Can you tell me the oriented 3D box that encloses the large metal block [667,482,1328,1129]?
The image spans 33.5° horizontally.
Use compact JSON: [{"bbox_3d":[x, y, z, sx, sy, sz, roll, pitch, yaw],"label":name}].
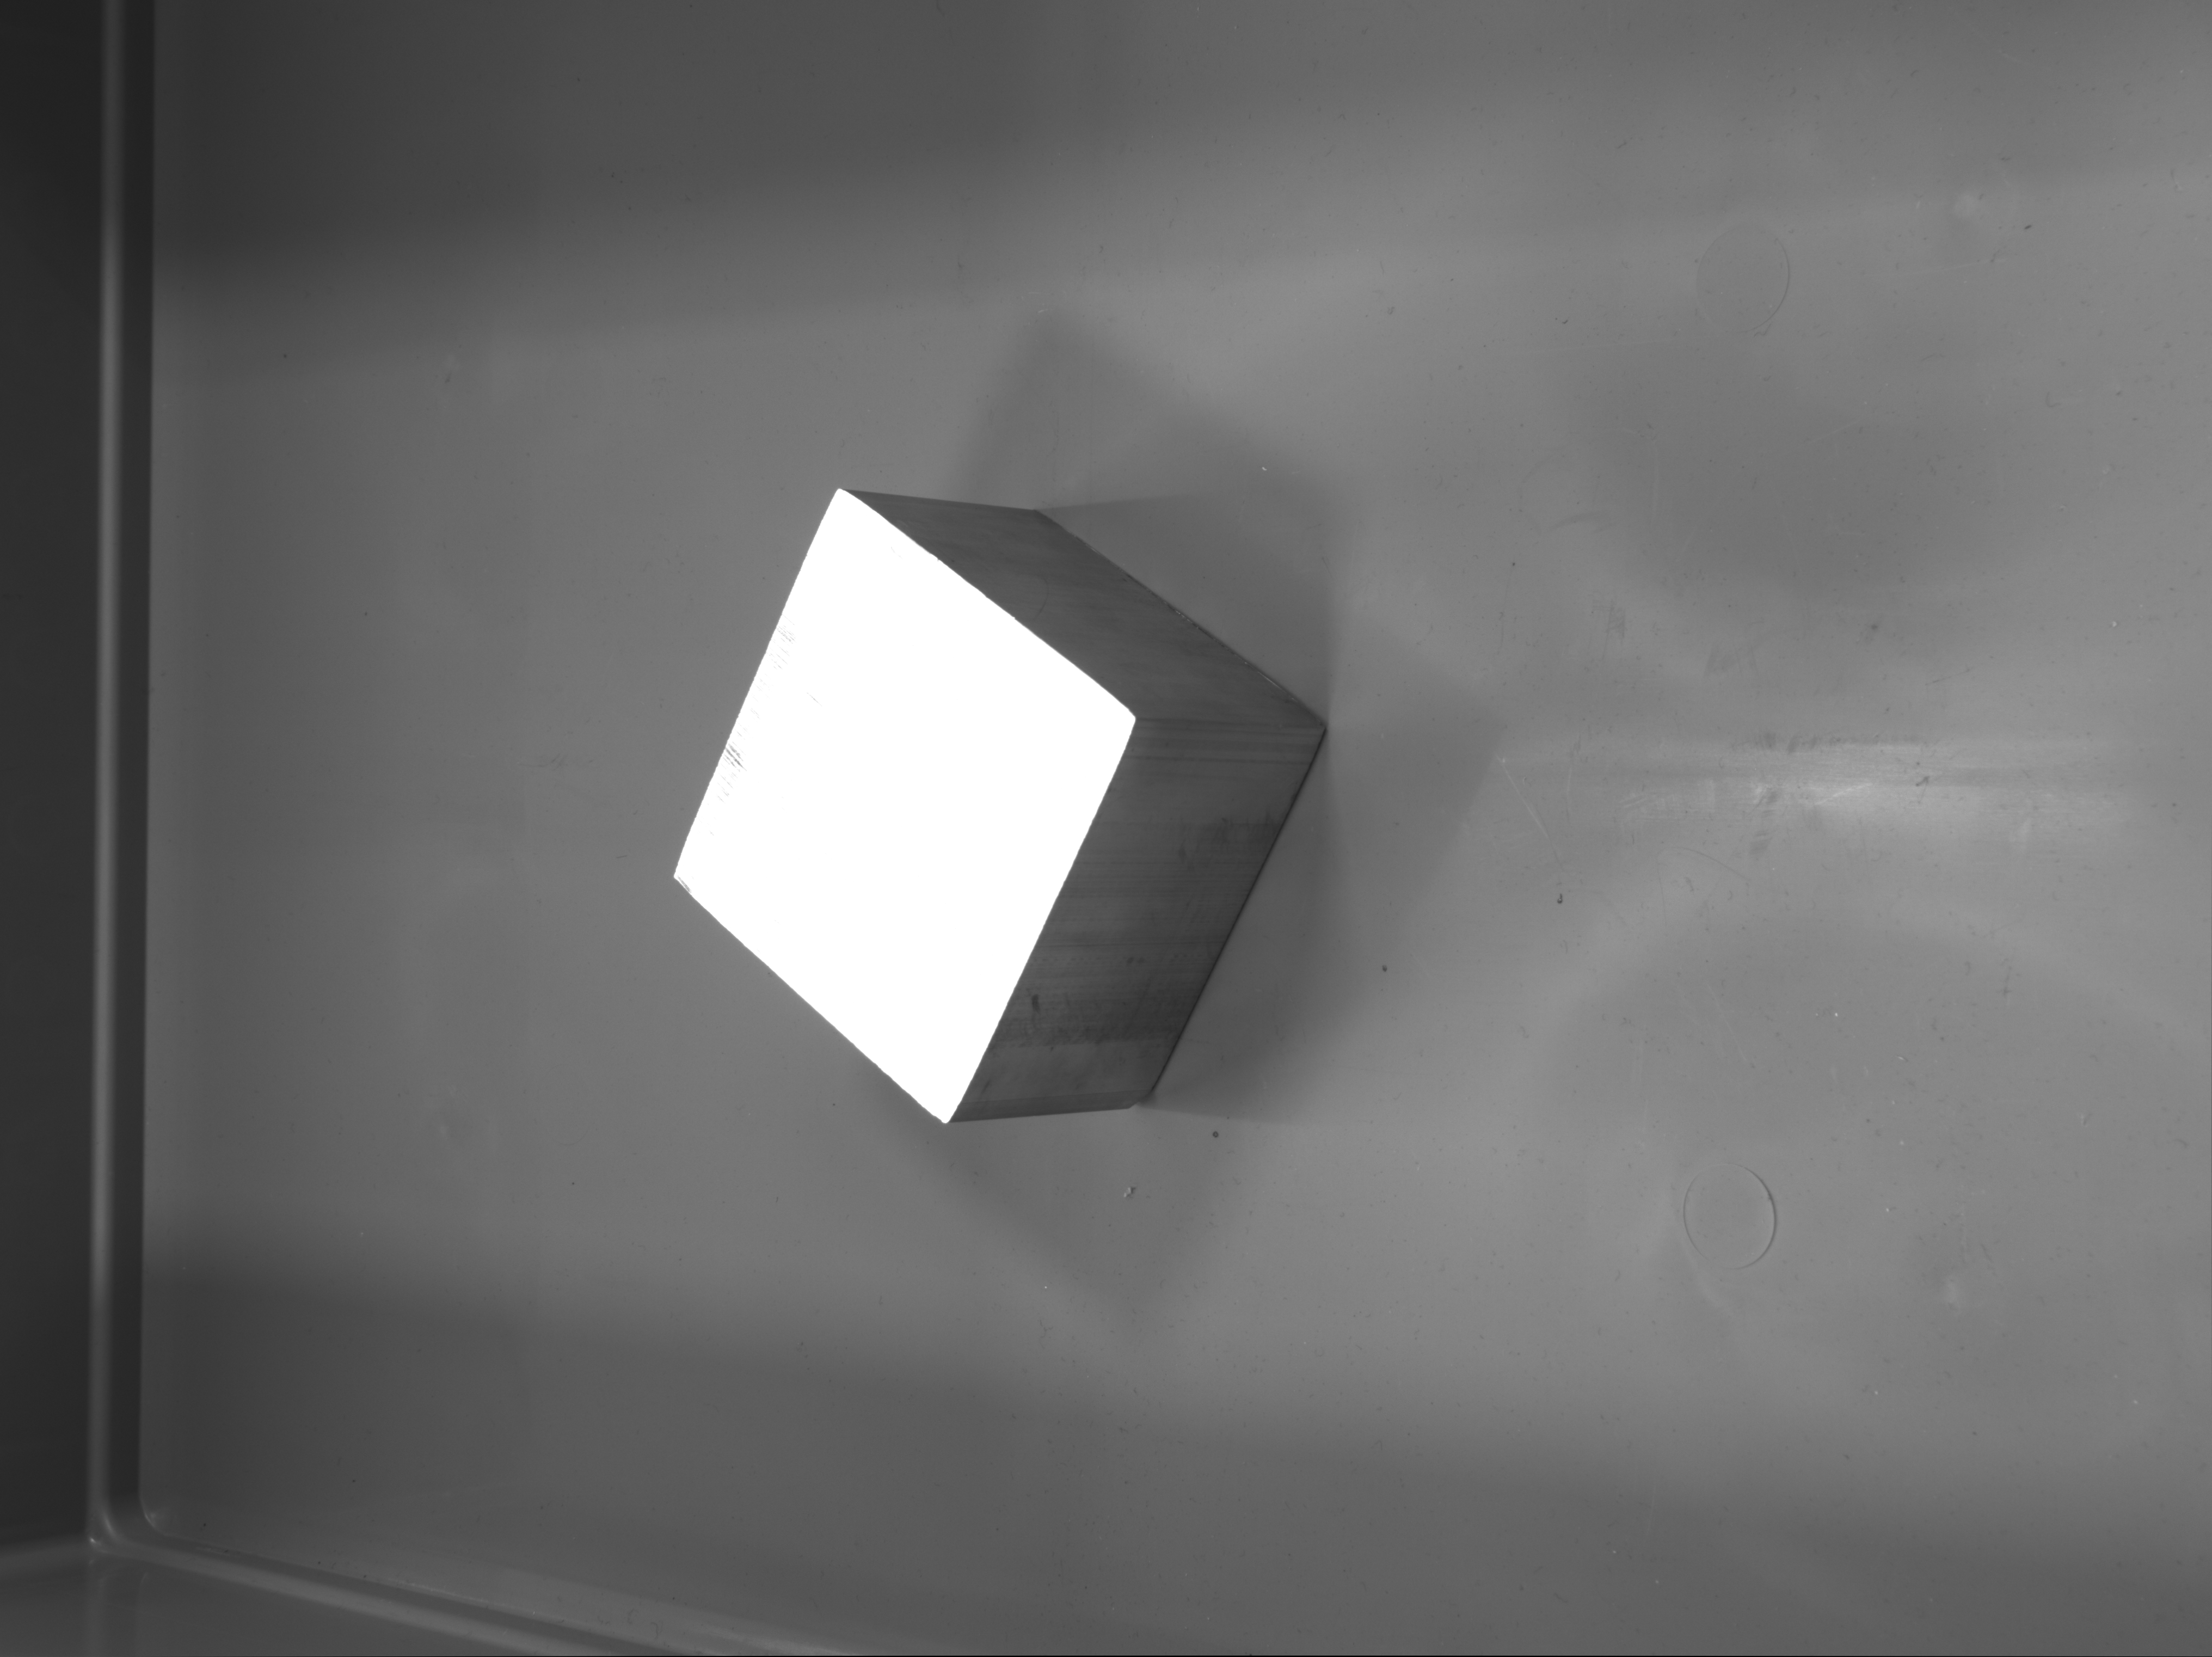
[{"bbox_3d":[-0.020,-0.004,0.643,0.080,0.050,0.080,39,113,33],"label":"large metal block"}]
